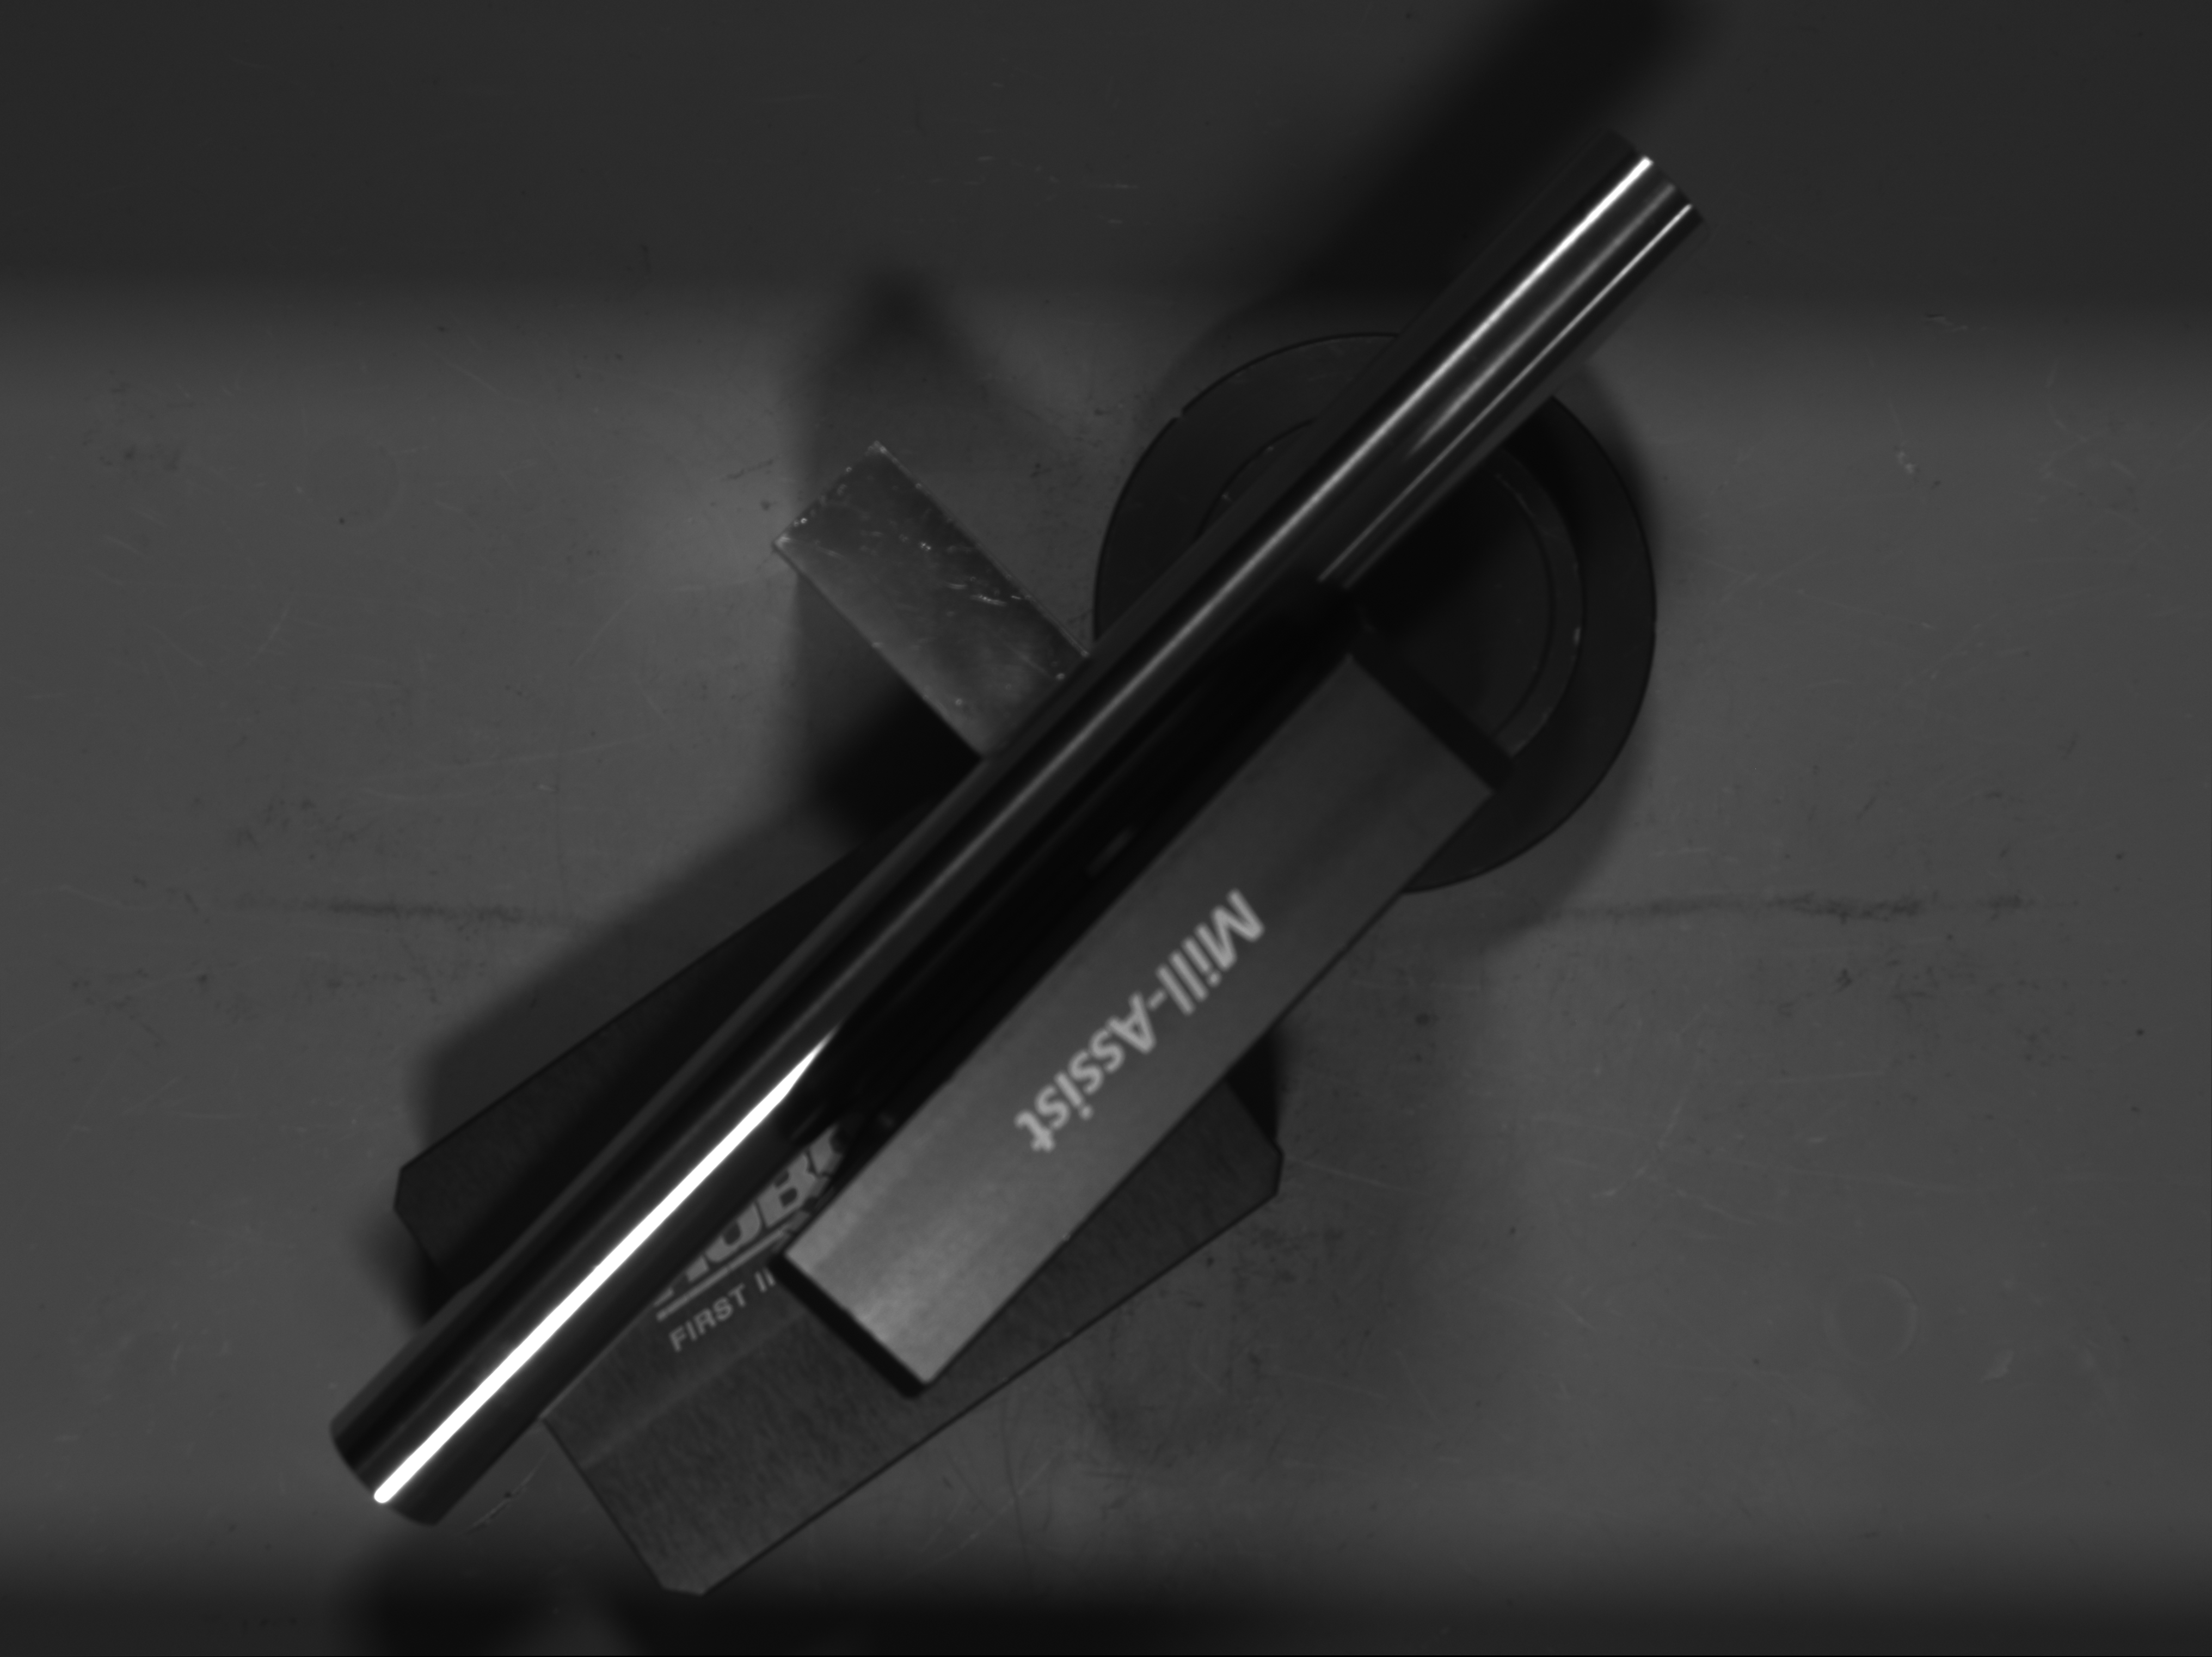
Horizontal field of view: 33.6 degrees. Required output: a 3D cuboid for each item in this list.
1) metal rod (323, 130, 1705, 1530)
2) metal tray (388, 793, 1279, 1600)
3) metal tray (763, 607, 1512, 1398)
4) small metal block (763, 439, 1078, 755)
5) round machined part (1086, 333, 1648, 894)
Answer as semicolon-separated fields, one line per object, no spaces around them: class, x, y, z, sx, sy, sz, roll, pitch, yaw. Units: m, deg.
metal rod;-0.017;0.002;0.605;0.025;0.025;0.300;45;94;0
metal tray;-0.047;0.061;0.641;0.130;0.030;0.090;-35;90;0
metal tray;0.006;0.023;0.574;0.030;0.090;0.130;43;96;-3
small metal block;-0.030;-0.038;0.631;0.025;0.050;0.050;-45;90;0
round machined part;0.045;-0.037;0.636;0.098;0.042;0.098;0;90;0
